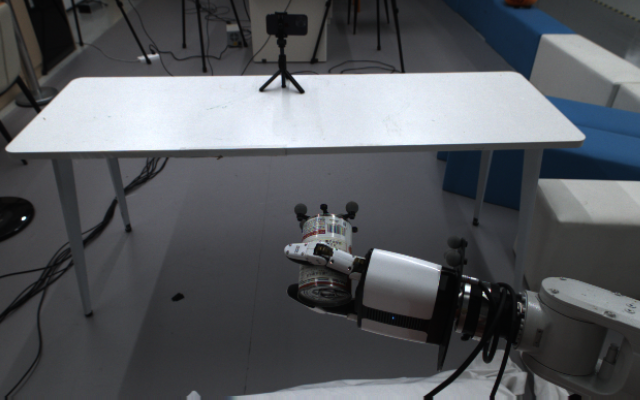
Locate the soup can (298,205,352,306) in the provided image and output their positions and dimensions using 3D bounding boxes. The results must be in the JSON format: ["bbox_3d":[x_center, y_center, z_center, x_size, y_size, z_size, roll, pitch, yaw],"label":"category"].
[{"bbox_3d":[0.009,0.077,0.618,0.067,0.067,0.101,3,57,1],"label":"soup can"}]
